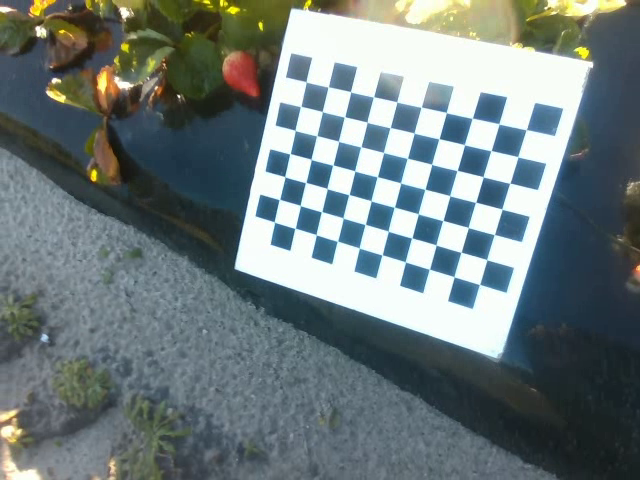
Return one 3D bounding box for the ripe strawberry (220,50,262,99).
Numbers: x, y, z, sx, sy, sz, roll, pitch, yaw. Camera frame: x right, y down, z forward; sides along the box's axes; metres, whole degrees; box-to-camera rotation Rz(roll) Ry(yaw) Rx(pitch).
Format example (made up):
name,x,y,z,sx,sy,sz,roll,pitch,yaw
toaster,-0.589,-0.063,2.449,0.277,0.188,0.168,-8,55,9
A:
name,x,y,z,sx,sy,sz,roll,pitch,yaw
ripe strawberry,-0.092,-0.184,0.737,0.040,0.065,0.040,-35,-9,18
